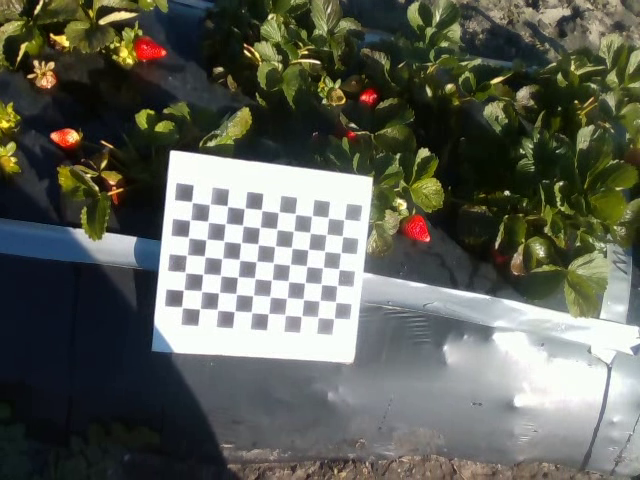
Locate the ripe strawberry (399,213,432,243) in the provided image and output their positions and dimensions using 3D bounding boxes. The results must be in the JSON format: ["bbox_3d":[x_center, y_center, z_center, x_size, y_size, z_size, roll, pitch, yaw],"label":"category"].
[{"bbox_3d":[0.156,-0.015,0.938,0.048,0.054,0.029,-40,8,-7],"label":"ripe strawberry"}]

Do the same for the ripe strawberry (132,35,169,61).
[{"bbox_3d":[-0.291,-0.324,1.014,0.064,0.050,0.052,13,0,-2],"label":"ripe strawberry"}]
